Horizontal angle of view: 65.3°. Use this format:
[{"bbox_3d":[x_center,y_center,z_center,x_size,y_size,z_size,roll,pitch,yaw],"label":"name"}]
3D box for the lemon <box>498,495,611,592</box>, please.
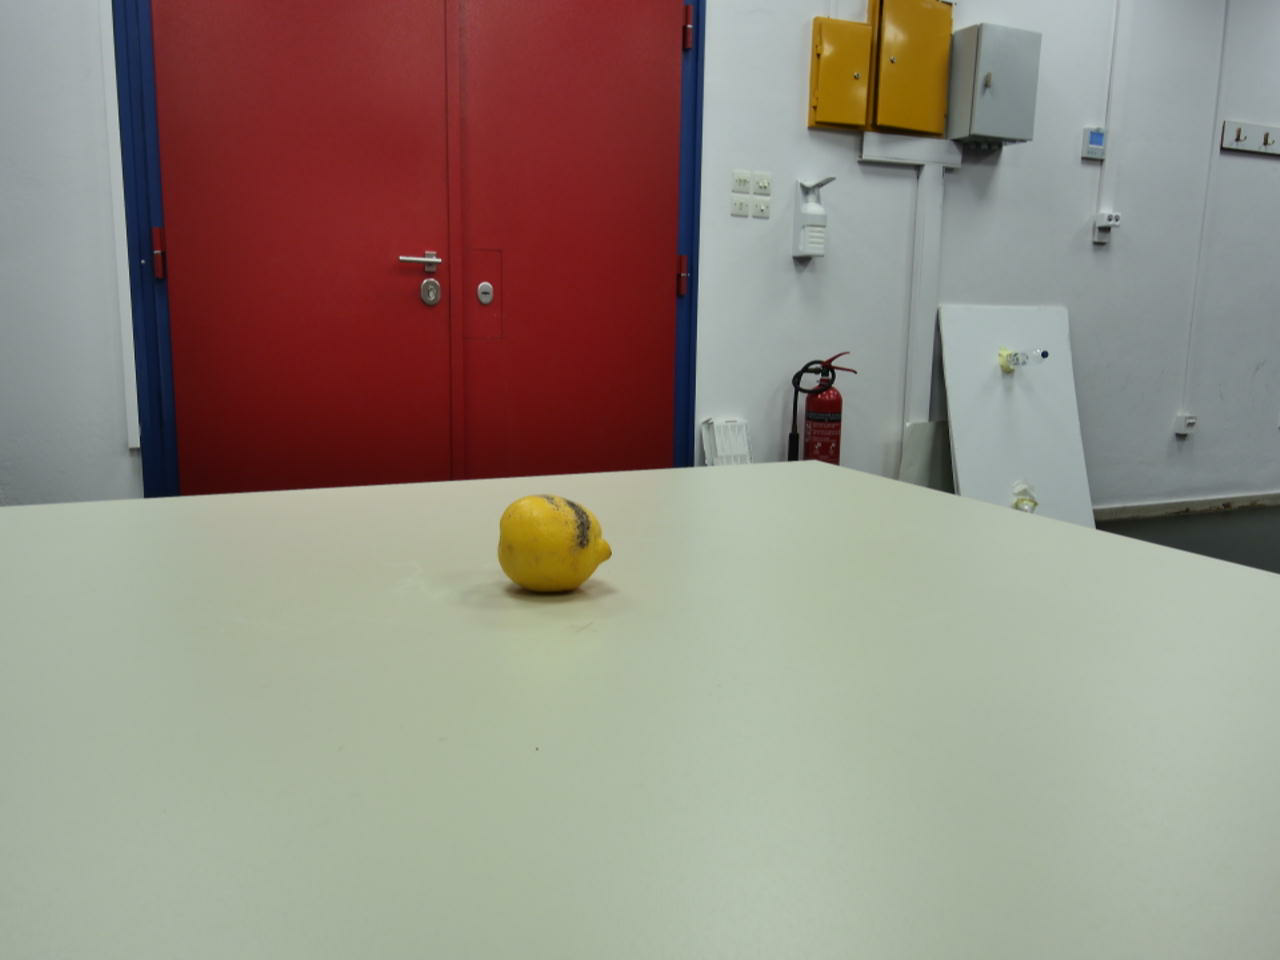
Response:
[{"bbox_3d":[-0.053,0.037,0.582,0.061,0.056,0.058,-4,9,-32],"label":"lemon"}]
